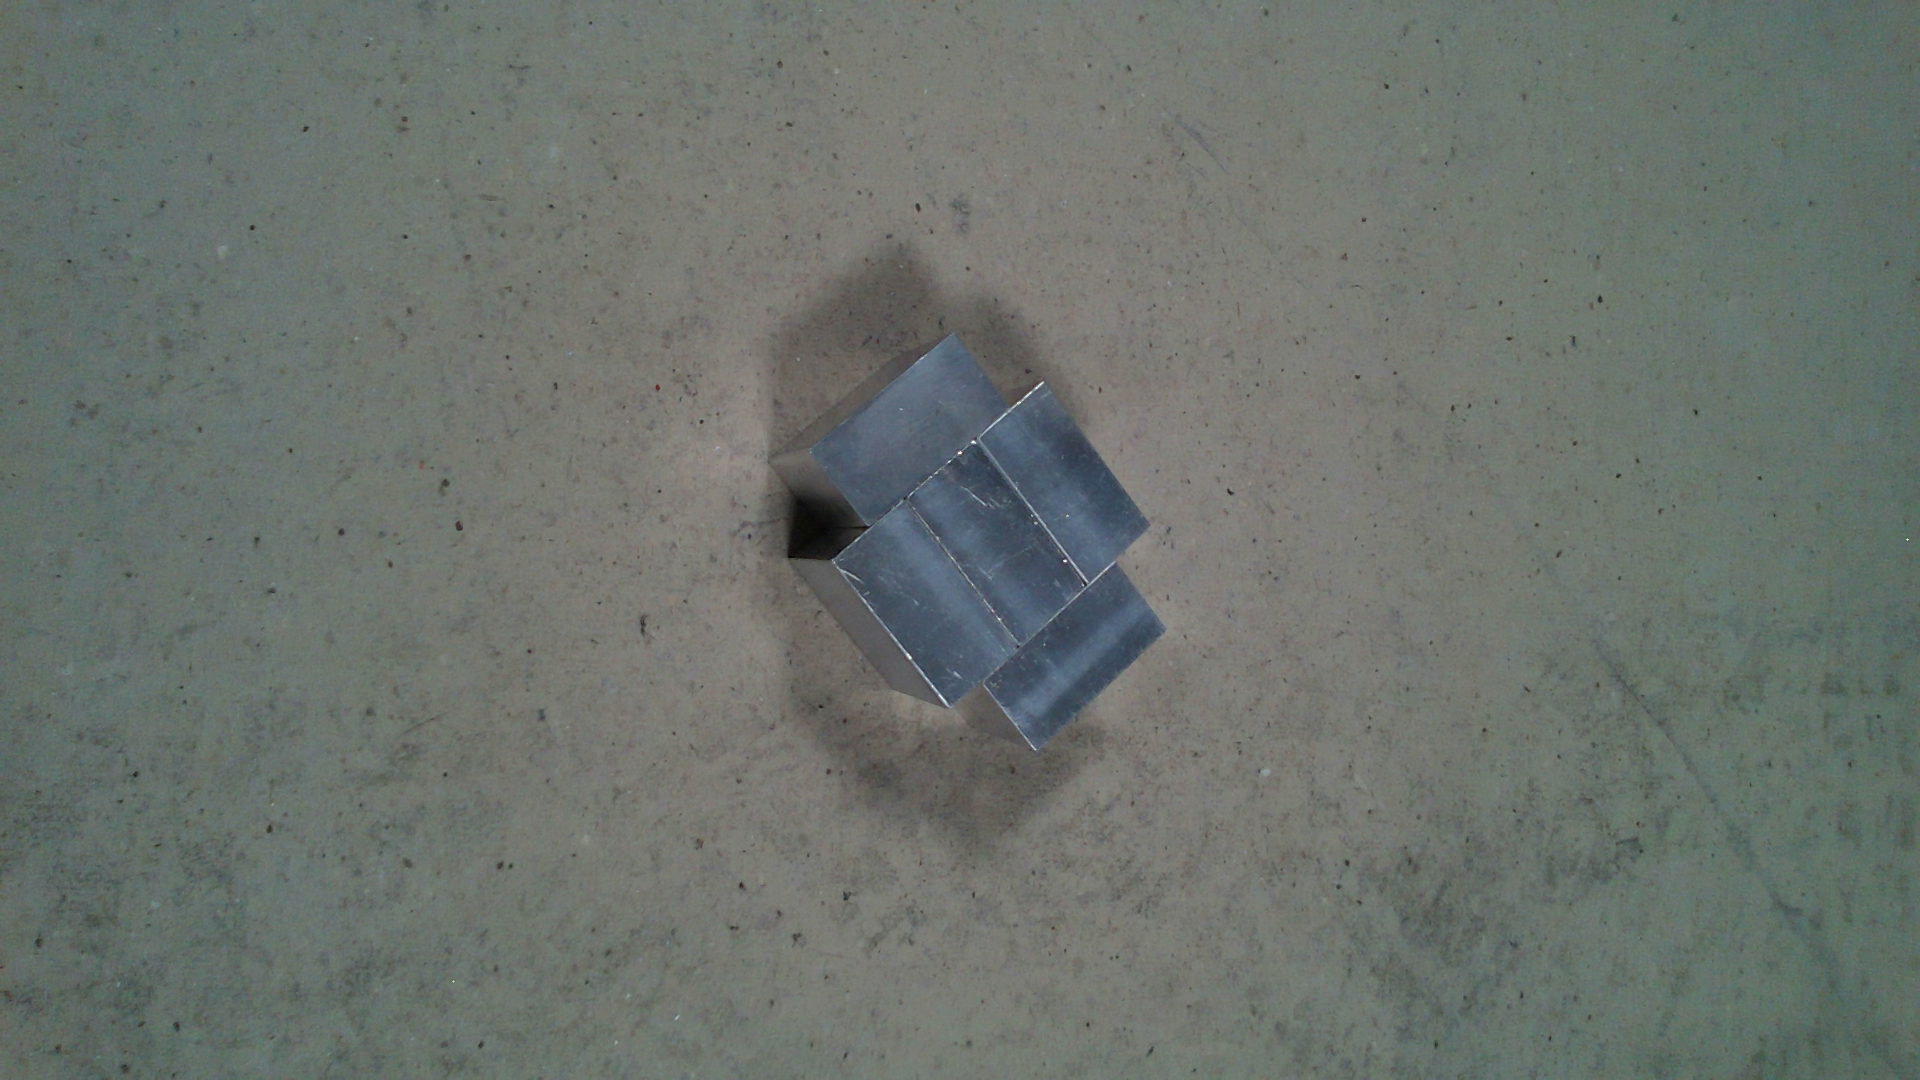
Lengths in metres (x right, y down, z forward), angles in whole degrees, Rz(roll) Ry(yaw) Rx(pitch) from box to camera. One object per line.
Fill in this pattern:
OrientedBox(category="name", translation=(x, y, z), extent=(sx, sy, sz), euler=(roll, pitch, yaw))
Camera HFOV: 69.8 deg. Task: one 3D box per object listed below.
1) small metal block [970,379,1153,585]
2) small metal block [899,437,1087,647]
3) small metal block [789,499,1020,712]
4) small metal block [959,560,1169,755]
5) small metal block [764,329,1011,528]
OrientedBox(category="small metal block", translation=(0.020, -0.015, 0.387), extent=(0.025, 0.050, 0.050), euler=(-42, 103, -15))
OrientedBox(category="small metal block", translation=(0.001, 0.001, 0.380), extent=(0.025, 0.050, 0.050), euler=(-42, 103, -15))
OrientedBox(category="small metal block", translation=(-0.017, 0.017, 0.374), extent=(0.025, 0.050, 0.050), euler=(-42, 103, -15))
OrientedBox(category="small metal block", translation=(0.023, 0.031, 0.388), extent=(0.050, 0.050, 0.025), euler=(-41, 103, -15))
OrientedBox(category="small metal block", translation=(-0.021, -0.028, 0.372), extent=(0.050, 0.050, 0.025), euler=(-41, 103, -15))
